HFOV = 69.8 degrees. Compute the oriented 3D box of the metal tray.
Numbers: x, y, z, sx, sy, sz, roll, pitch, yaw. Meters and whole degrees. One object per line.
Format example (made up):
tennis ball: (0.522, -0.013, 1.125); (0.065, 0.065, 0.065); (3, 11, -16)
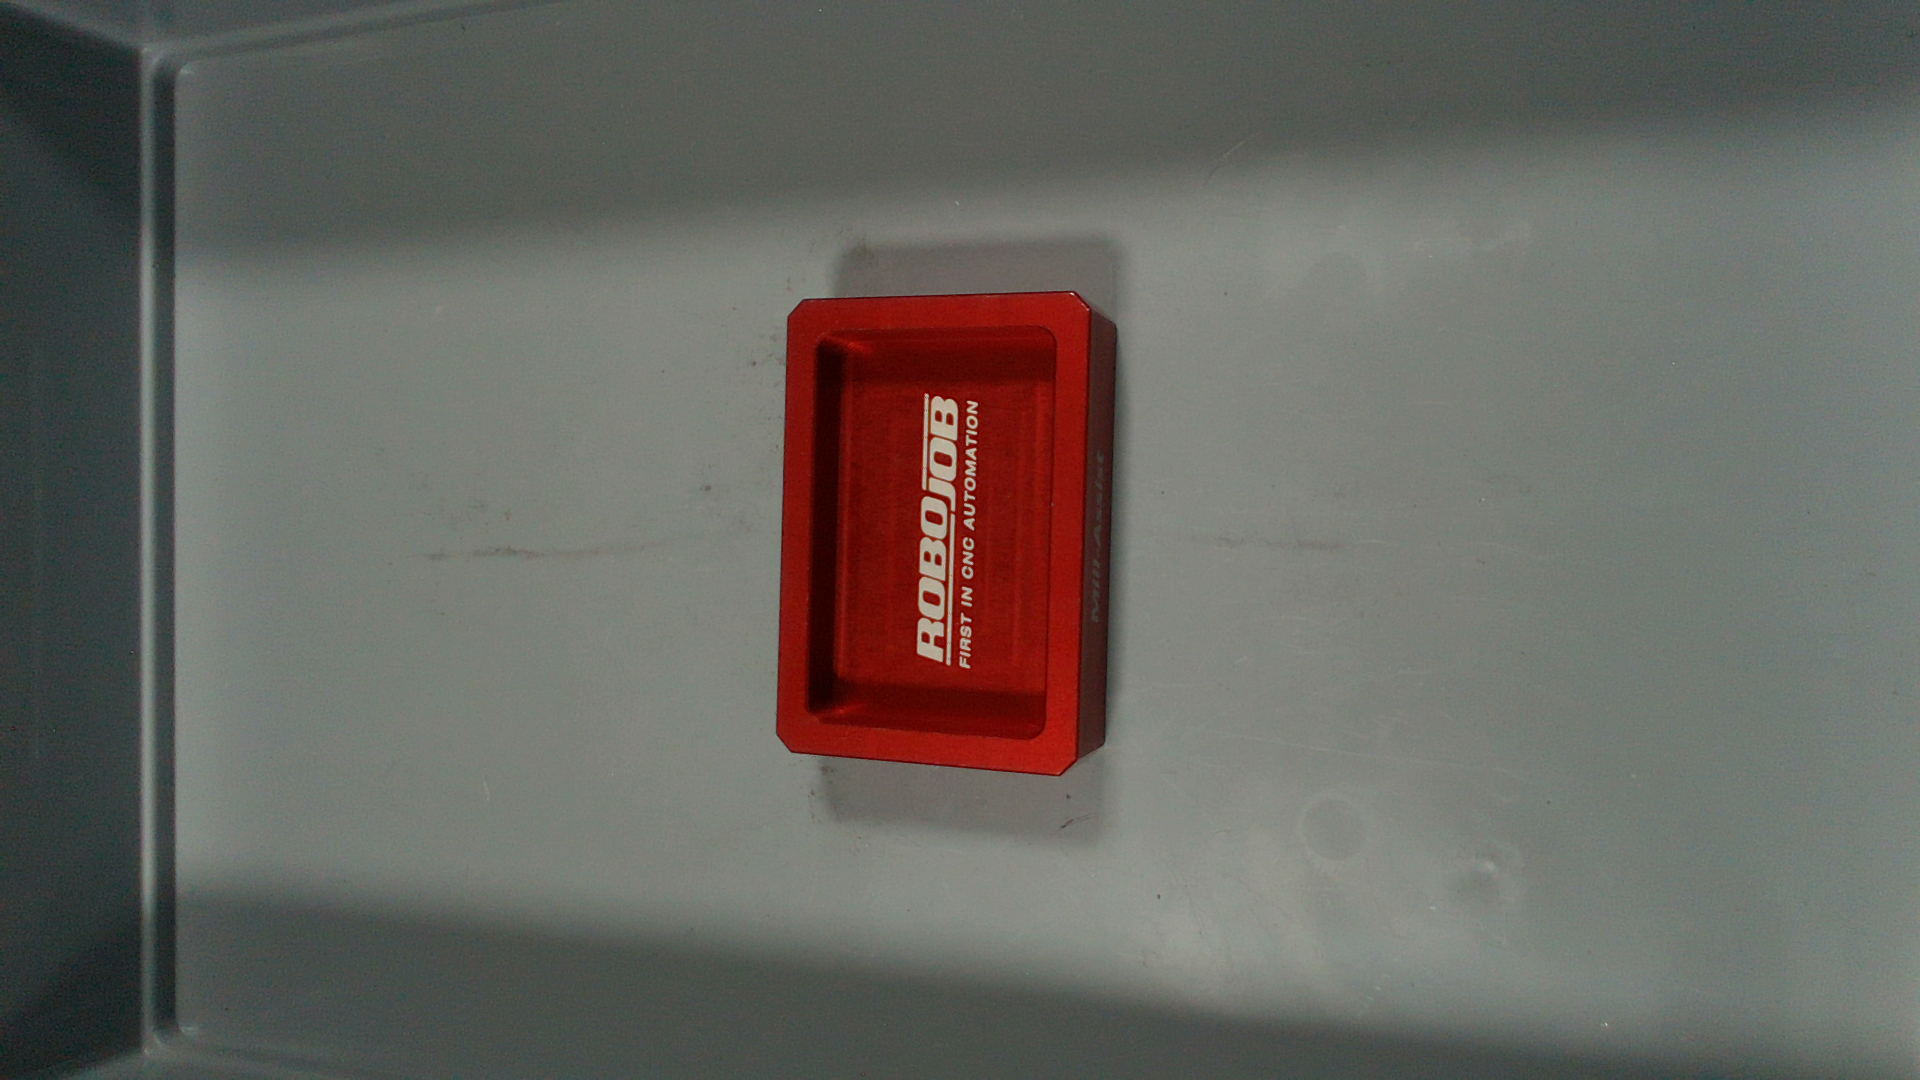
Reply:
metal tray: (-0.004, -0.003, 0.392); (0.090, 0.030, 0.130); (2, 90, 19)
